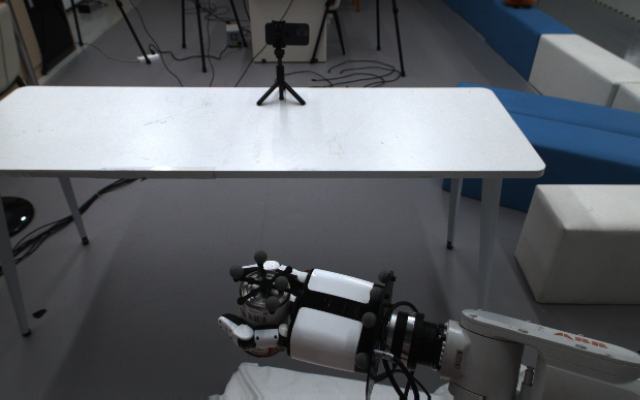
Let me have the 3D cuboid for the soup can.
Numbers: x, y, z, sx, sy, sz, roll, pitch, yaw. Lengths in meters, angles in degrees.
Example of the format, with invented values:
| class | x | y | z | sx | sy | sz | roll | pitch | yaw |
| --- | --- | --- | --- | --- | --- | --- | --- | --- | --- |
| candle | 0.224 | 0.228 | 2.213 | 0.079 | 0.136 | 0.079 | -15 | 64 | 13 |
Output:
| class | x | y | z | sx | sy | sz | roll | pitch | yaw |
| --- | --- | --- | --- | --- | --- | --- | --- | --- | --- |
| soup can | -0.072 | 0.153 | 0.646 | 0.067 | 0.101 | 0.067 | 5 | 37 | -4 |
